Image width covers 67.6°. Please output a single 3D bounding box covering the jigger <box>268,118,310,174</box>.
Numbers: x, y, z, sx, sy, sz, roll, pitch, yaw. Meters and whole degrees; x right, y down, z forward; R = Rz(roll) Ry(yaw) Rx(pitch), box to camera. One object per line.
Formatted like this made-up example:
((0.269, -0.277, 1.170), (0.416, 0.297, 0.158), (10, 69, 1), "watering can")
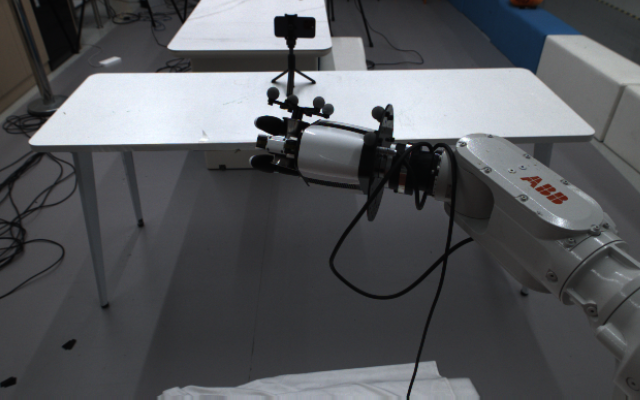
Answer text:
((-0.039, -0.079, 0.685), (0.043, 0.071, 0.043), (14, 2, 0), "jigger")
